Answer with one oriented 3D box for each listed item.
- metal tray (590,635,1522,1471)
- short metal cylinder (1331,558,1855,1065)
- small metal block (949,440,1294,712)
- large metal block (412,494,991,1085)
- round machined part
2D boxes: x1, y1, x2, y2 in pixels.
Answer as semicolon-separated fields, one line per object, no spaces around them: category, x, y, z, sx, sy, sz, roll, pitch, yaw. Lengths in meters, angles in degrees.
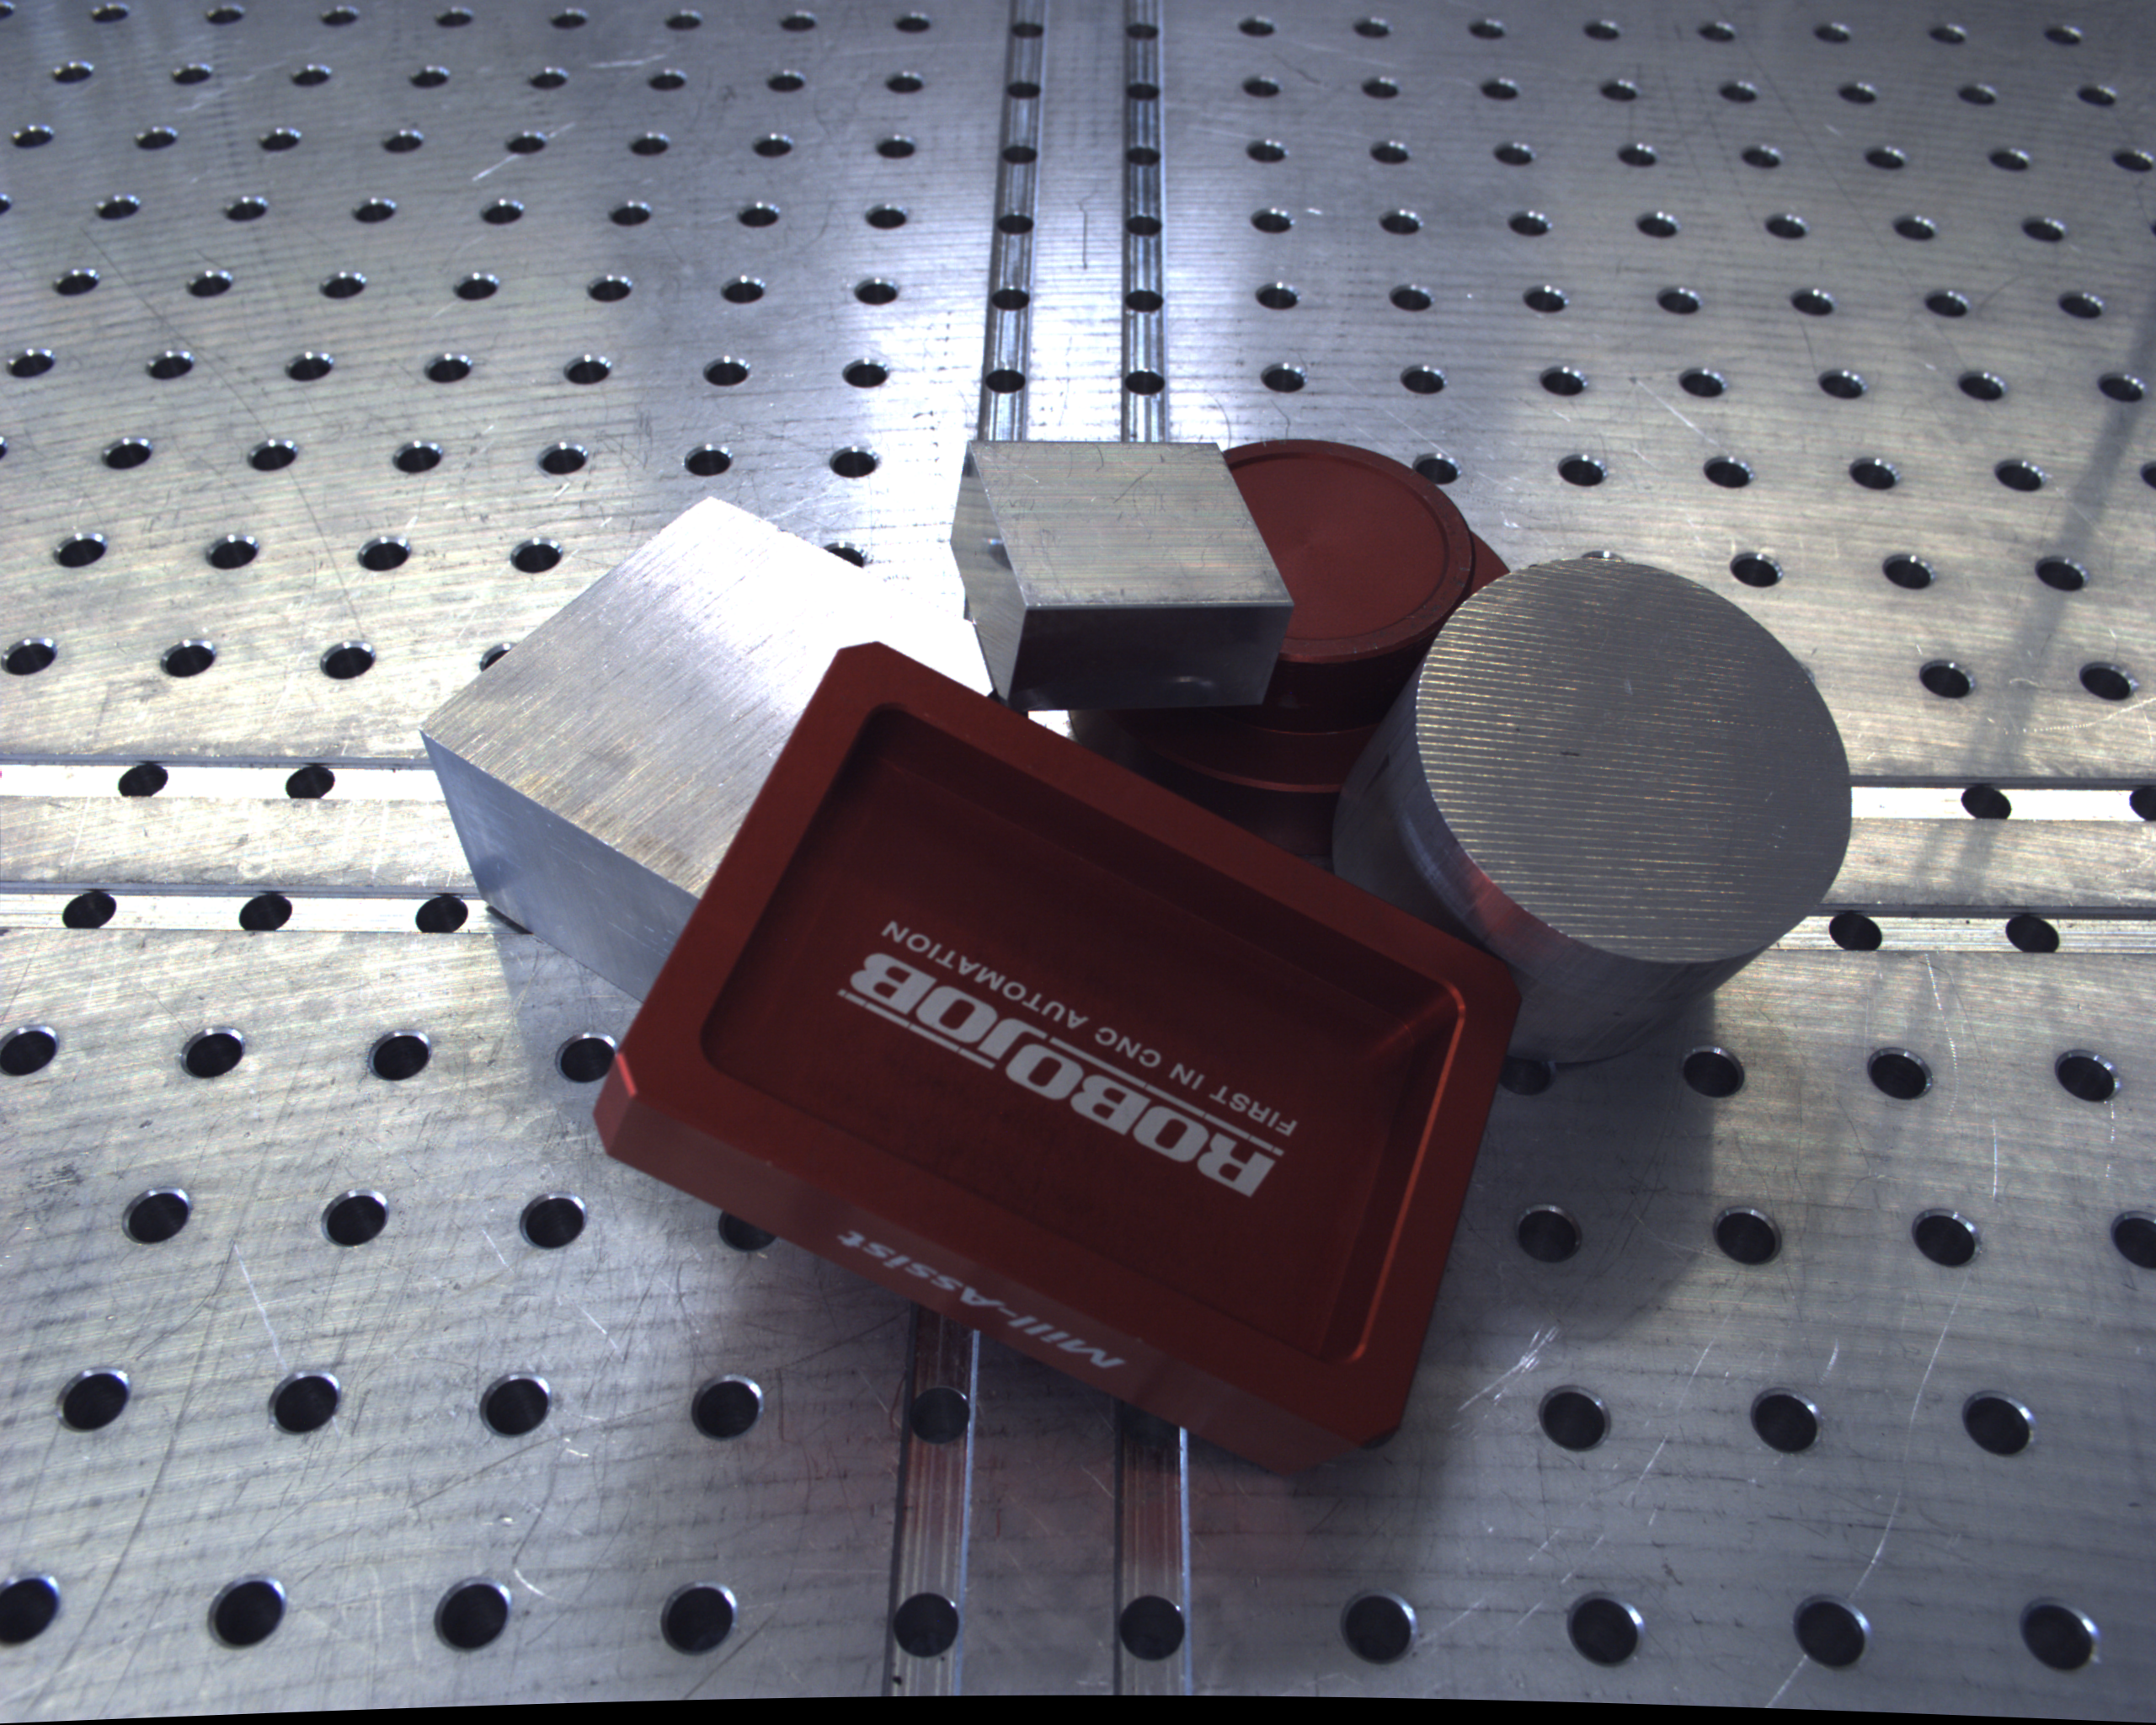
metal tray;0.000;0.030;0.341;0.131;0.030;0.090;27;59;-6
short metal cylinder;0.093;-0.009;0.384;0.081;0.050;0.080;5;64;-10
small metal block;0.007;-0.055;0.393;0.050;0.025;0.050;-3;46;-17
large metal block;-0.065;-0.016;0.404;0.080;0.050;0.080;29;56;22
round machined part;0.047;-0.052;0.440;0.099;0.042;0.098;0;50;0
